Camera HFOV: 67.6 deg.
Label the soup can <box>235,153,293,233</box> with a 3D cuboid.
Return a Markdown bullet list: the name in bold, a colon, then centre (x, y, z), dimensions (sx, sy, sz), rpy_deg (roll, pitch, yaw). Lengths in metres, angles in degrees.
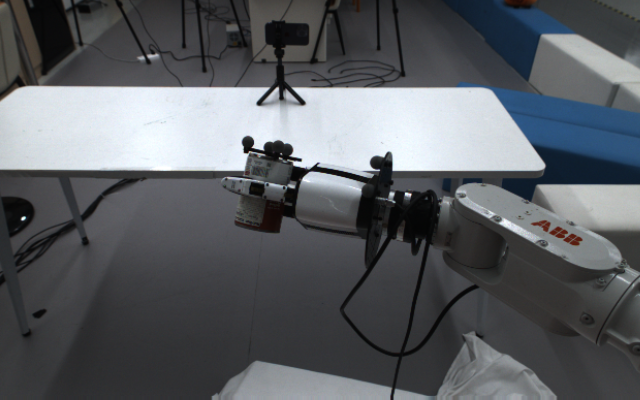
- **soup can**: centre (-0.078, -0.009, 0.682), dimensions (0.067, 0.101, 0.067), rpy_deg (11, 2, 0)
